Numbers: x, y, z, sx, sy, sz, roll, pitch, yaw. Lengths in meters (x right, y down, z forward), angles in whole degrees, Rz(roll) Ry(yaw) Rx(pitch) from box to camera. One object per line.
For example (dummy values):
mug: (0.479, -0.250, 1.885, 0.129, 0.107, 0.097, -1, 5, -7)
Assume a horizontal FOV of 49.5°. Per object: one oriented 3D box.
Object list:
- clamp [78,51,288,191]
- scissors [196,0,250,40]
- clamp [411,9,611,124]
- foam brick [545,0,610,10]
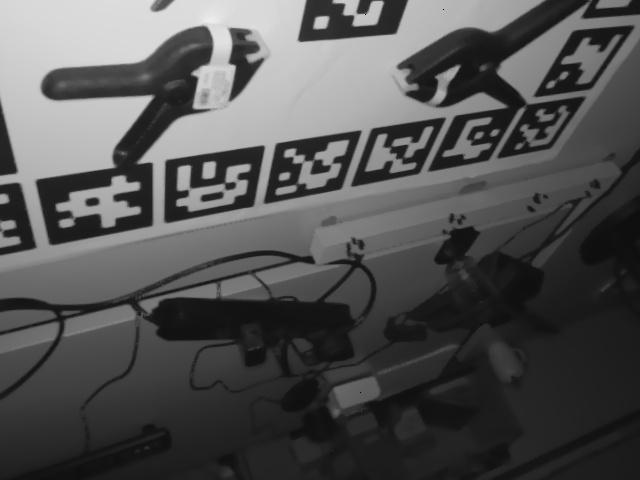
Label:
clamp: (-0.104, -0.114, 0.598, 0.165, 0.036, 0.122, -27, 143, 0)
scissors: (-0.019, -0.214, 0.514, 0.200, 0.016, 0.088, -37, 141, 21)
clamp: (0.191, -0.169, 0.737, 0.205, 0.036, 0.163, -14, 151, -20)
foam brick: (0.236, -0.249, 0.637, 0.079, 0.051, 0.052, -11, 146, -33)
